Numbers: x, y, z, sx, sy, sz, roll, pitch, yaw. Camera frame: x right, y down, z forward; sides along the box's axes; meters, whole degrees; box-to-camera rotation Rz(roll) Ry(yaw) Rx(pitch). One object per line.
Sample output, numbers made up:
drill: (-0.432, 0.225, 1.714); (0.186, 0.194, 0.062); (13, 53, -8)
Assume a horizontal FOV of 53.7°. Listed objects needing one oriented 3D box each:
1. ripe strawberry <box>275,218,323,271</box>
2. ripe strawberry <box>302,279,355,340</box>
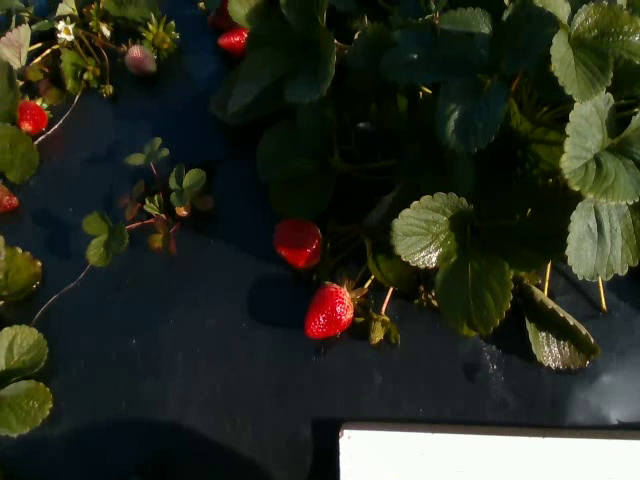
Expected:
ripe strawberry: (-0.018, 0.003, 0.541); (0.054, 0.048, 0.039); (15, 3, -14)
ripe strawberry: (0.003, 0.057, 0.502); (0.053, 0.043, 0.039); (-42, -9, -32)
